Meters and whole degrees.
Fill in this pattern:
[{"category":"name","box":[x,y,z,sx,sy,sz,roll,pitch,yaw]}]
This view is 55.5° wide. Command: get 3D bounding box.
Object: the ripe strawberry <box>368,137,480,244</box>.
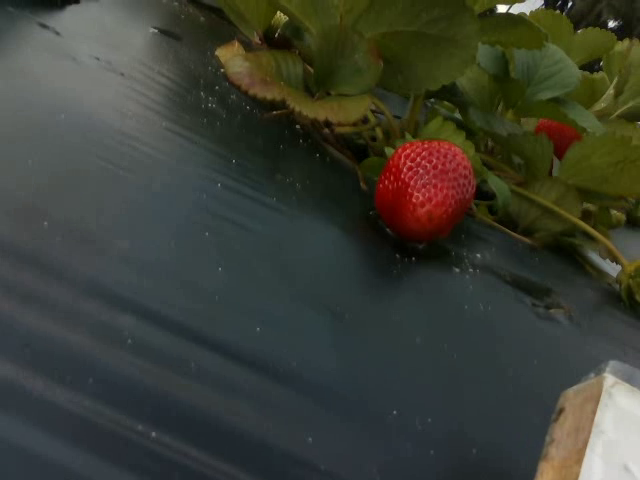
[{"category":"ripe strawberry","box":[0.035,-0.015,0.193,0.036,0.040,0.046,10,15,7]}]
